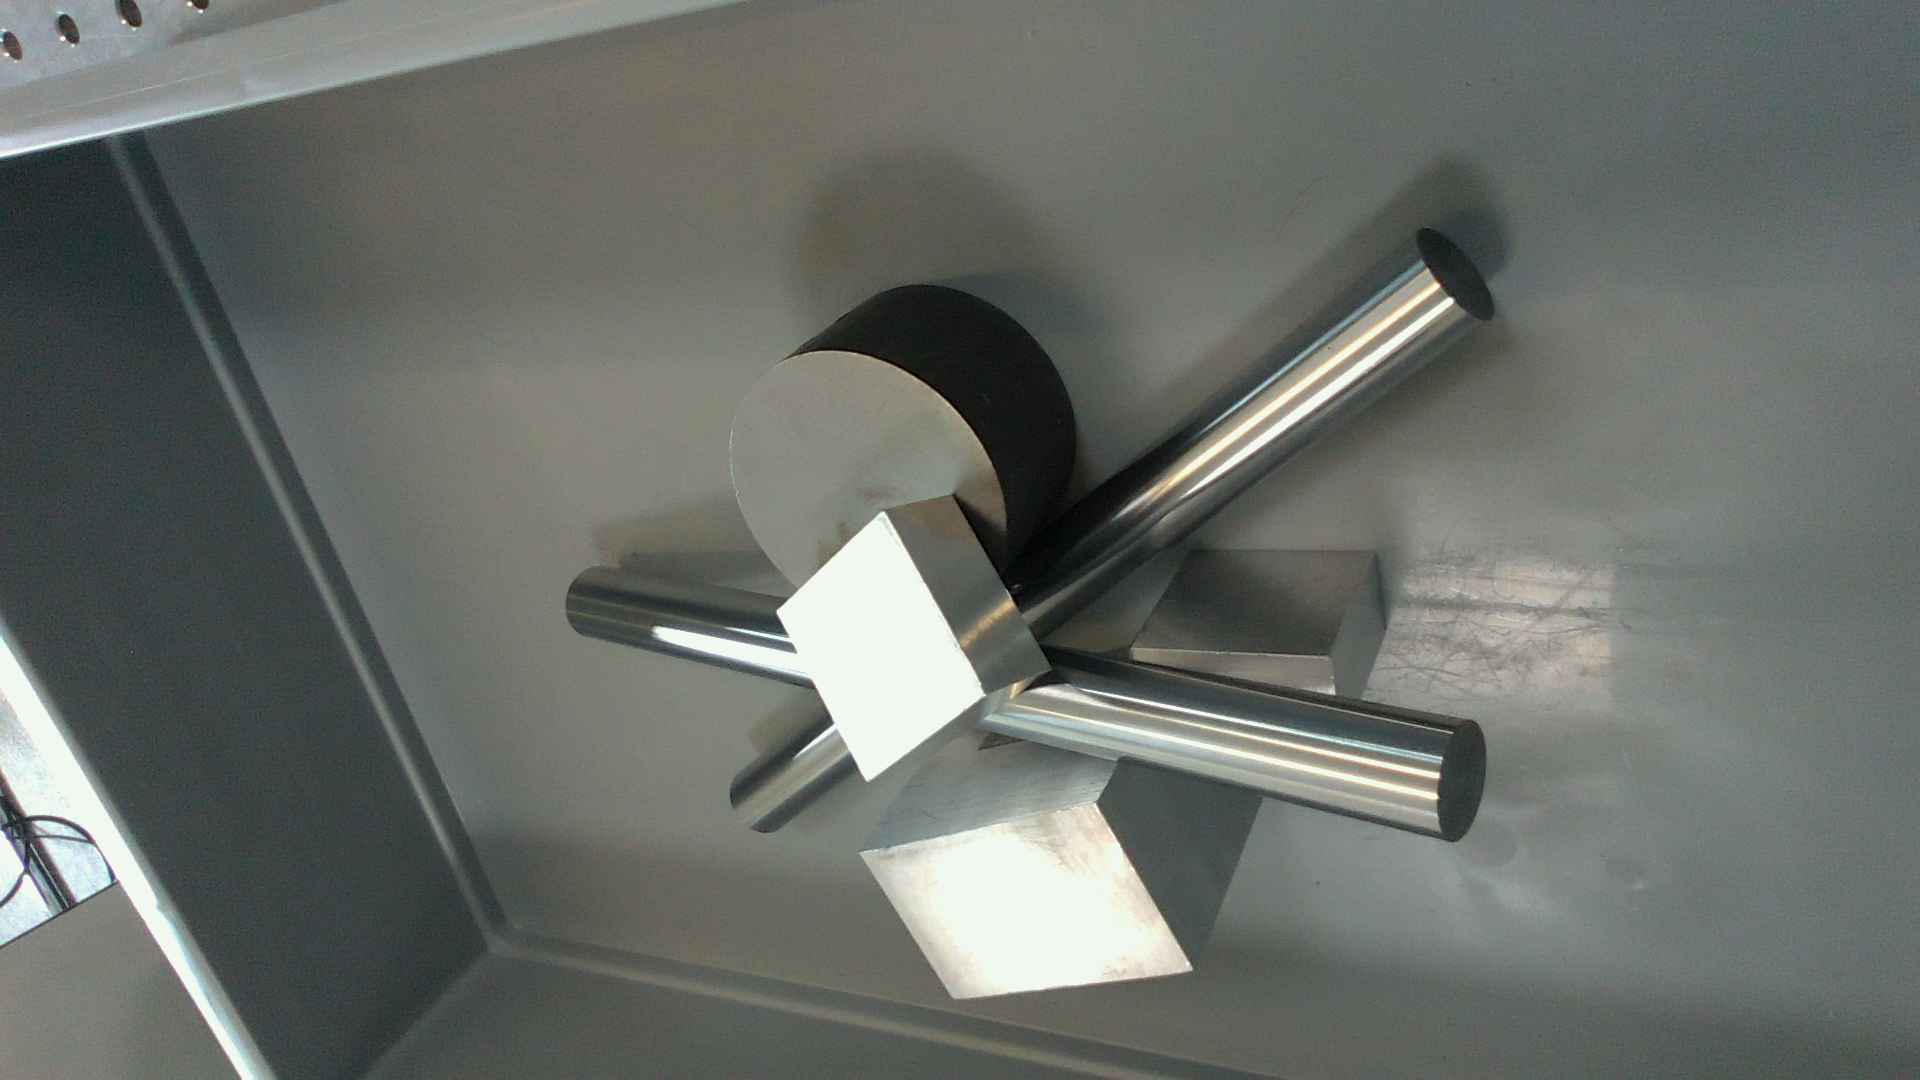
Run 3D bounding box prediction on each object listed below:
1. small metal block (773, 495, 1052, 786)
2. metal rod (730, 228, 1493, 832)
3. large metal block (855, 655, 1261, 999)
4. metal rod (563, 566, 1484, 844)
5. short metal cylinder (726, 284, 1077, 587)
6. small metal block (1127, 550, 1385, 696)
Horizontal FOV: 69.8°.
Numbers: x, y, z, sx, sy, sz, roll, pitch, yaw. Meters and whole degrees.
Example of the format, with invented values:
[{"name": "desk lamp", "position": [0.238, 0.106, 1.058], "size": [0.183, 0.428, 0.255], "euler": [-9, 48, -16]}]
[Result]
[{"name": "small metal block", "position": [-0.013, 0.025, 0.338], "size": [0.050, 0.025, 0.050], "euler": [-41, 72, 39]}, {"name": "metal rod", "position": [0.019, 0.017, 0.393], "size": [0.025, 0.025, 0.299], "euler": [46, 129, -4]}, {"name": "large metal block", "position": [0.031, 0.077, 0.386], "size": [0.080, 0.080, 0.050], "euler": [-20, 108, 36]}, {"name": "metal rod", "position": [-0.012, 0.035, 0.374], "size": [0.299, 0.025, 0.025], "euler": [7, 123, 40]}, {"name": "short metal cylinder", "position": [-0.015, -0.022, 0.369], "size": [0.080, 0.050, 0.080], "euler": [13, 123, 21]}, {"name": "small metal block", "position": [0.077, 0.026, 0.350], "size": [0.050, 0.050, 0.025], "euler": [1, 119, 29]}]
